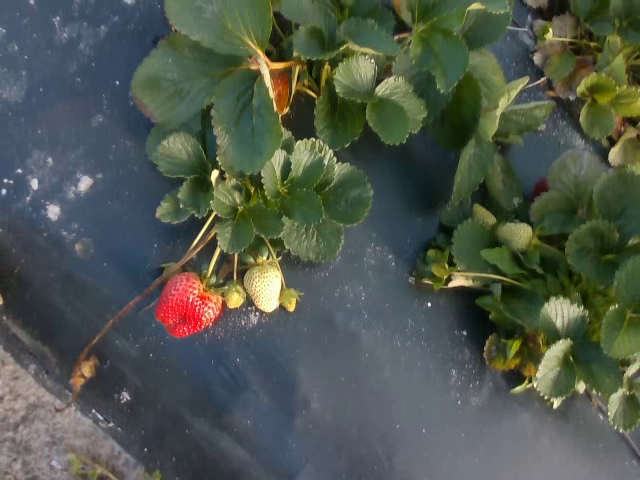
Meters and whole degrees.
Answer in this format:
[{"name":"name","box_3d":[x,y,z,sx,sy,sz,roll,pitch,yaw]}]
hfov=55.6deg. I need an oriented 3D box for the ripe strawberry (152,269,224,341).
[{"name":"ripe strawberry","box_3d":[-0.104,0.053,0.464,0.047,0.050,0.035,45,0,-1]}]
